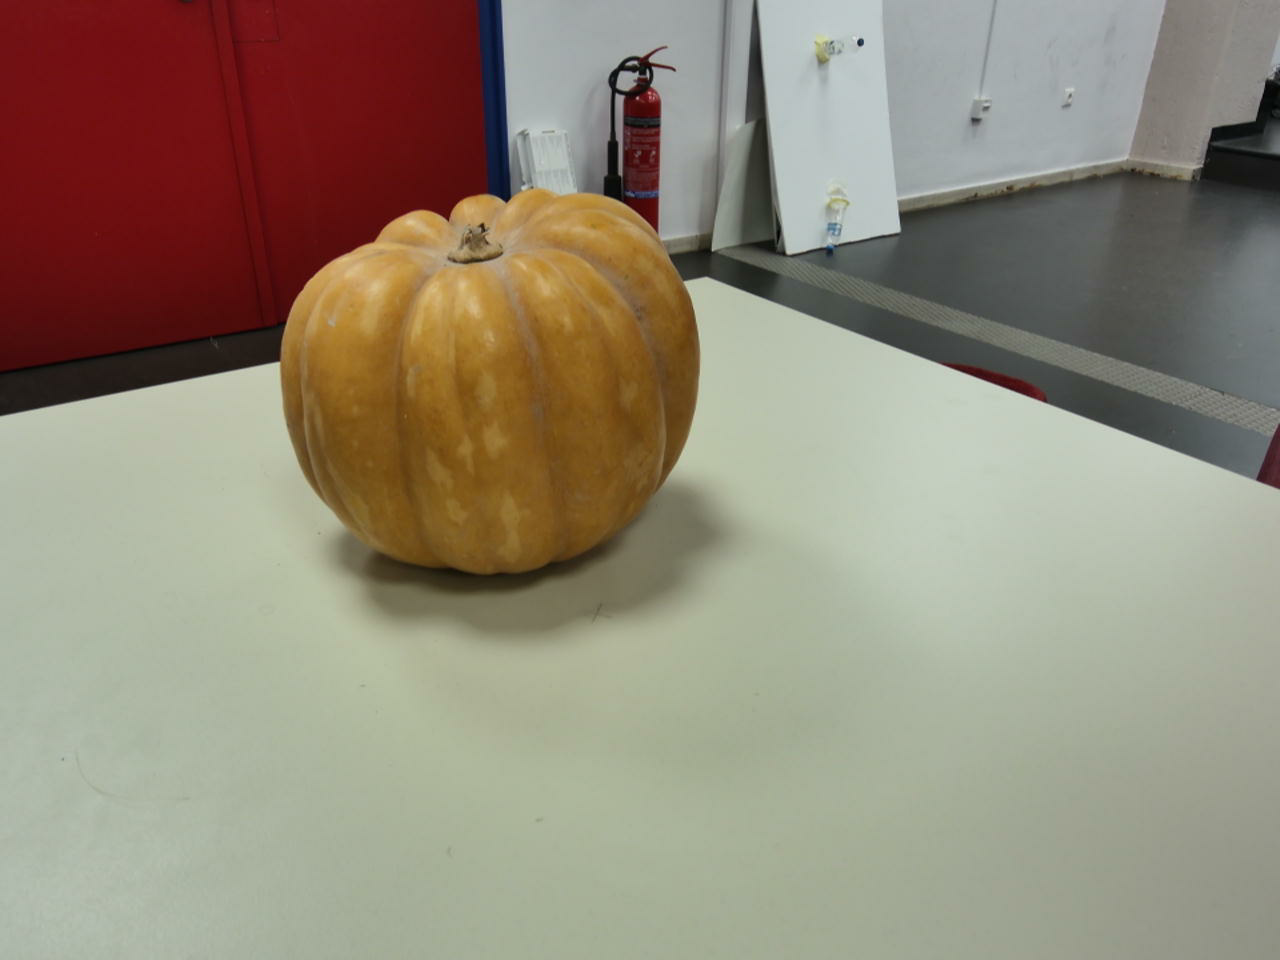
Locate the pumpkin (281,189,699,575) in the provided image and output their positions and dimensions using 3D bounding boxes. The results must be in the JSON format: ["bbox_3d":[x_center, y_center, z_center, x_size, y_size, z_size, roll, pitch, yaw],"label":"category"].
[{"bbox_3d":[-0.077,-0.054,0.553,0.230,0.194,0.230,1,26,0],"label":"pumpkin"}]
